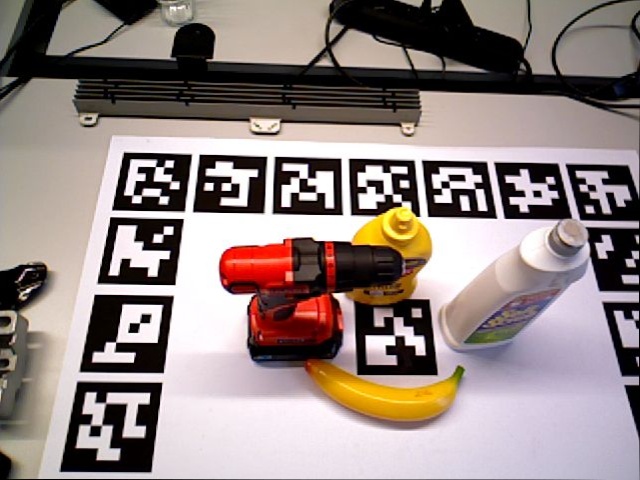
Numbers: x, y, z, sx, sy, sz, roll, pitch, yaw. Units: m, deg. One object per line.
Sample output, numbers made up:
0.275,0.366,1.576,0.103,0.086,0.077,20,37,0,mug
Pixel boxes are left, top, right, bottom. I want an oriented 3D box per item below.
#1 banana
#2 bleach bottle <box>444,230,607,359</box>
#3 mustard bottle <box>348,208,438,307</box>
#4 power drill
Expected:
0.089,0.179,0.632,0.196,0.039,0.073,4,67,1,banana
0.220,0.062,0.590,0.102,0.255,0.067,-6,64,-7,bleach bottle
0.090,0.017,0.629,0.095,0.195,0.057,3,62,-4,mustard bottle
-0.010,0.059,0.581,0.183,0.191,0.056,0,55,-7,power drill
